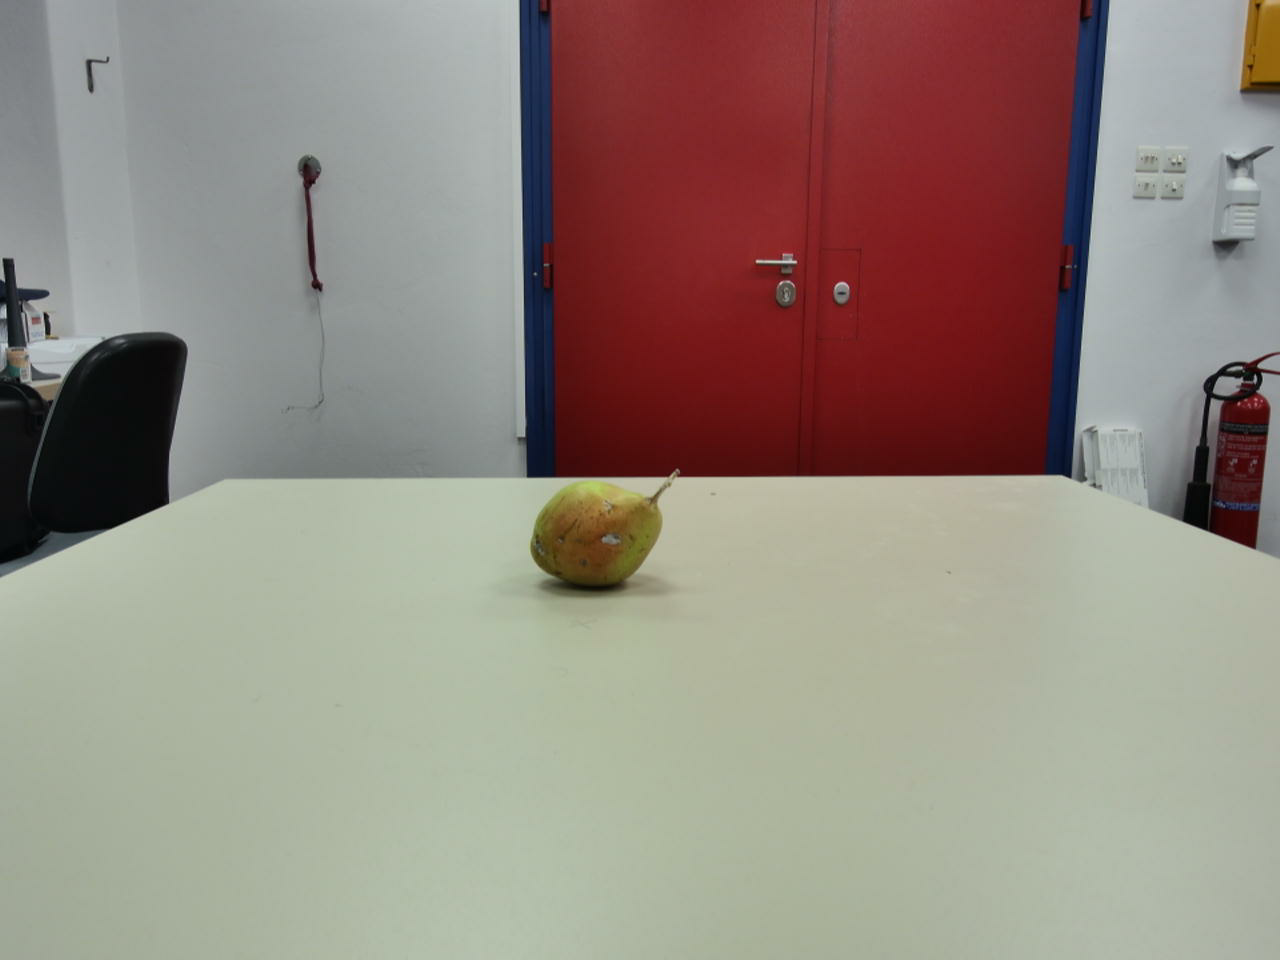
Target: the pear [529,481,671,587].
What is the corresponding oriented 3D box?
[{"bbox_3d":[-0.026,0.029,0.598,0.068,0.069,0.070,-7,10,-39],"label":"pear"}]
